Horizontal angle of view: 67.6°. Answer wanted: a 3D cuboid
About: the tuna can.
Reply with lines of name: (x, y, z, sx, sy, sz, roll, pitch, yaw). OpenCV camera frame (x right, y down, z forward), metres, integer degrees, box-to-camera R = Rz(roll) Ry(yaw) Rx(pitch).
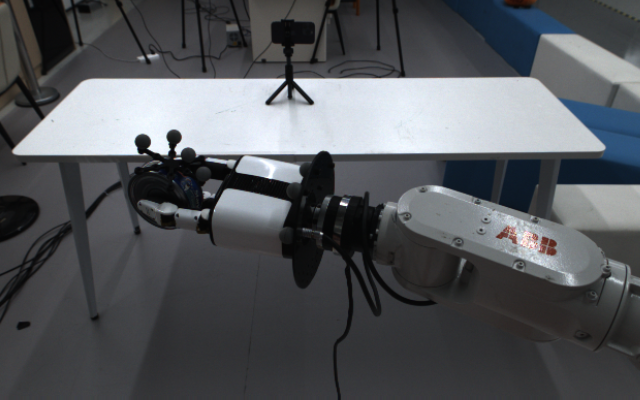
tuna can: (-0.188, -0.006, 0.590, 0.085, 0.085, 0.034, 12, 35, 13)
